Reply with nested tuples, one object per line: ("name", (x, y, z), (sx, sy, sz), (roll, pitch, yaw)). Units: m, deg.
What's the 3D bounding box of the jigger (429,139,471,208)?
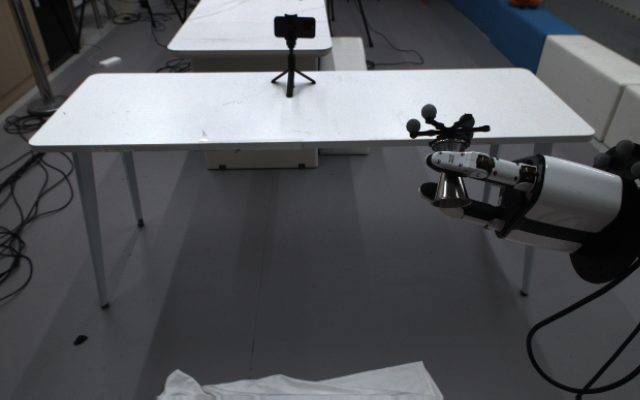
("jigger", (0.145, -0.030, 0.540), (0.043, 0.043, 0.071), (3, 76, 1))
